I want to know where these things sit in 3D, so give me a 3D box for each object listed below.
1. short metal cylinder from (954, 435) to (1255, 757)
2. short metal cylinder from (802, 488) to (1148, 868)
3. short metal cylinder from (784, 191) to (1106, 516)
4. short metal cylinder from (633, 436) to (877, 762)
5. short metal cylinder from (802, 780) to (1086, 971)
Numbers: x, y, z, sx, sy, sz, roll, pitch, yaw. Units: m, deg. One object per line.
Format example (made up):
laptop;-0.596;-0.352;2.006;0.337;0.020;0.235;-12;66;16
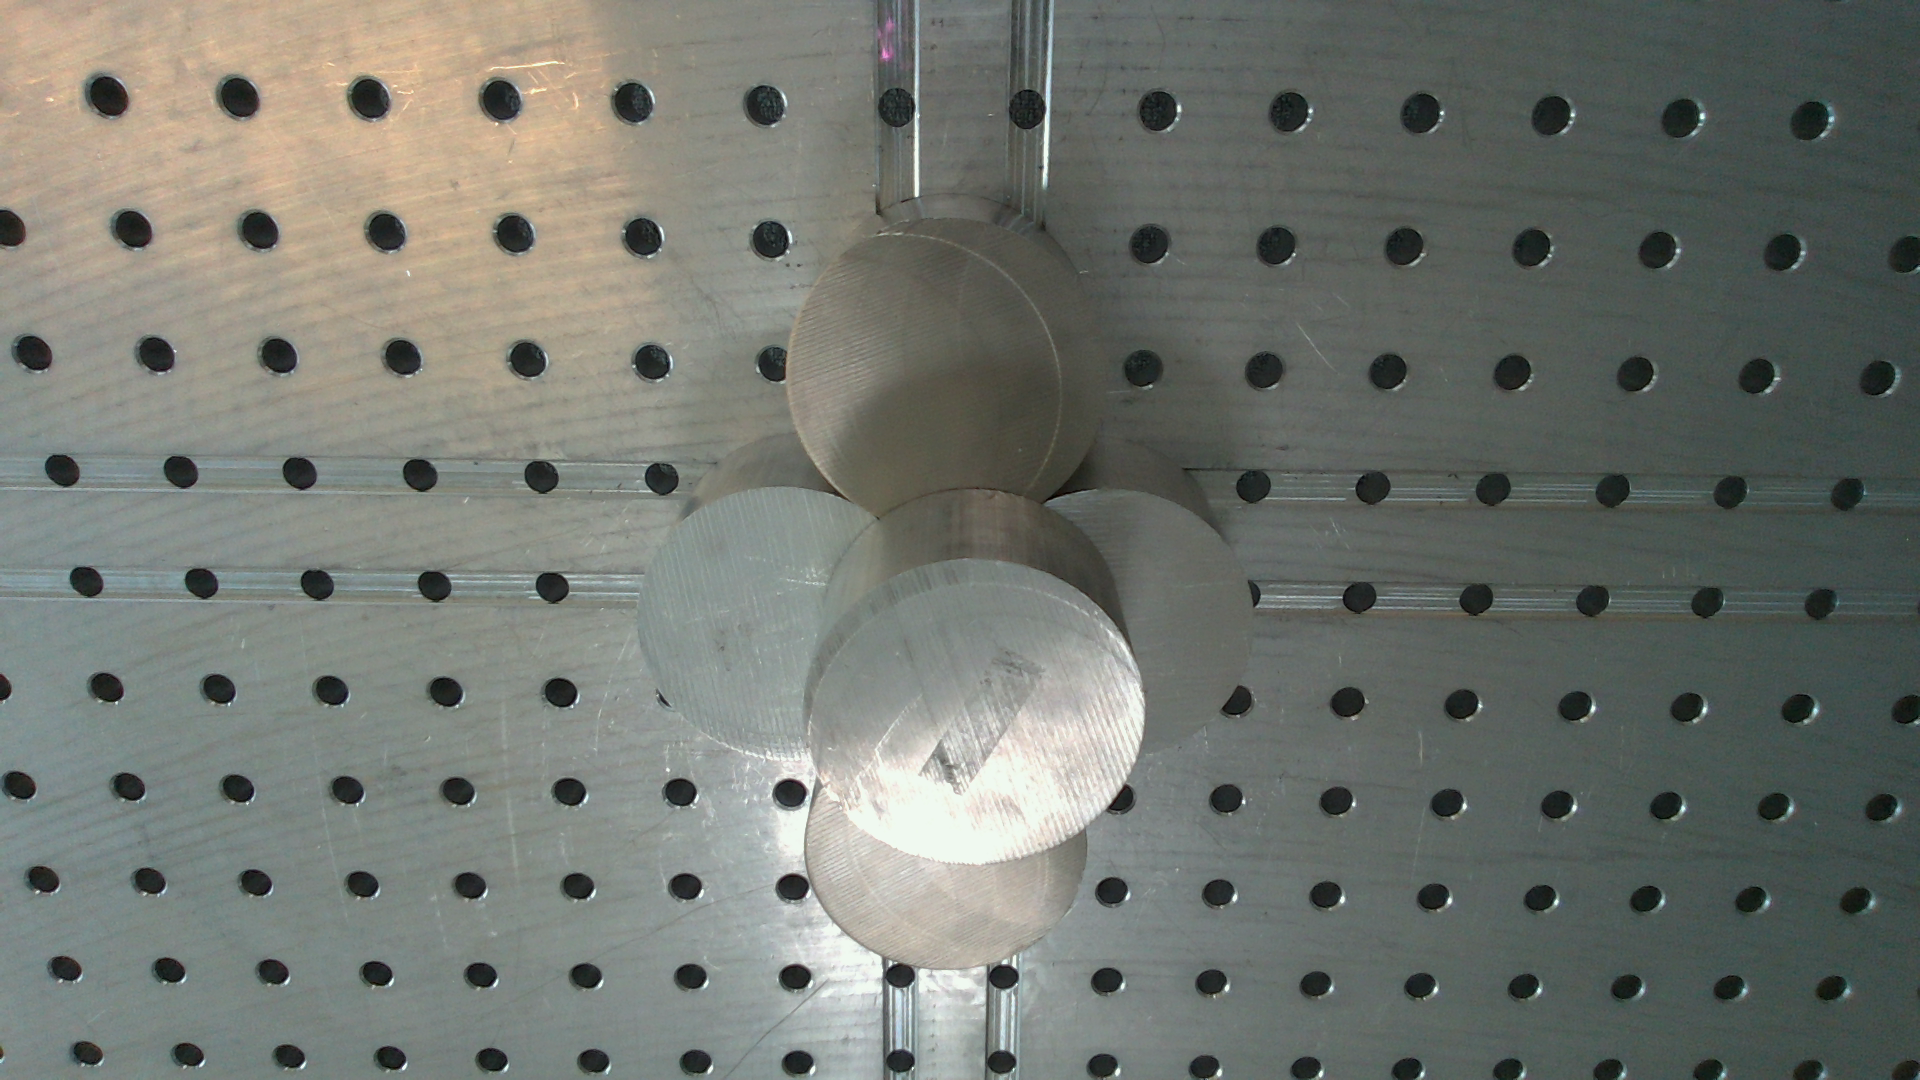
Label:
short metal cylinder;0.038;0.016;0.389;0.080;0.050;0.080;0;110;0
short metal cylinder;0.004;0.033;0.341;0.080;0.050;0.080;0;110;0
short metal cylinder;-0.004;-0.049;0.365;0.080;0.050;0.080;0;110;-1
short metal cylinder;-0.047;0.015;0.389;0.080;0.050;0.080;0;110;0
short metal cylinder;-0.005;0.080;0.412;0.080;0.050;0.080;0;108;0
